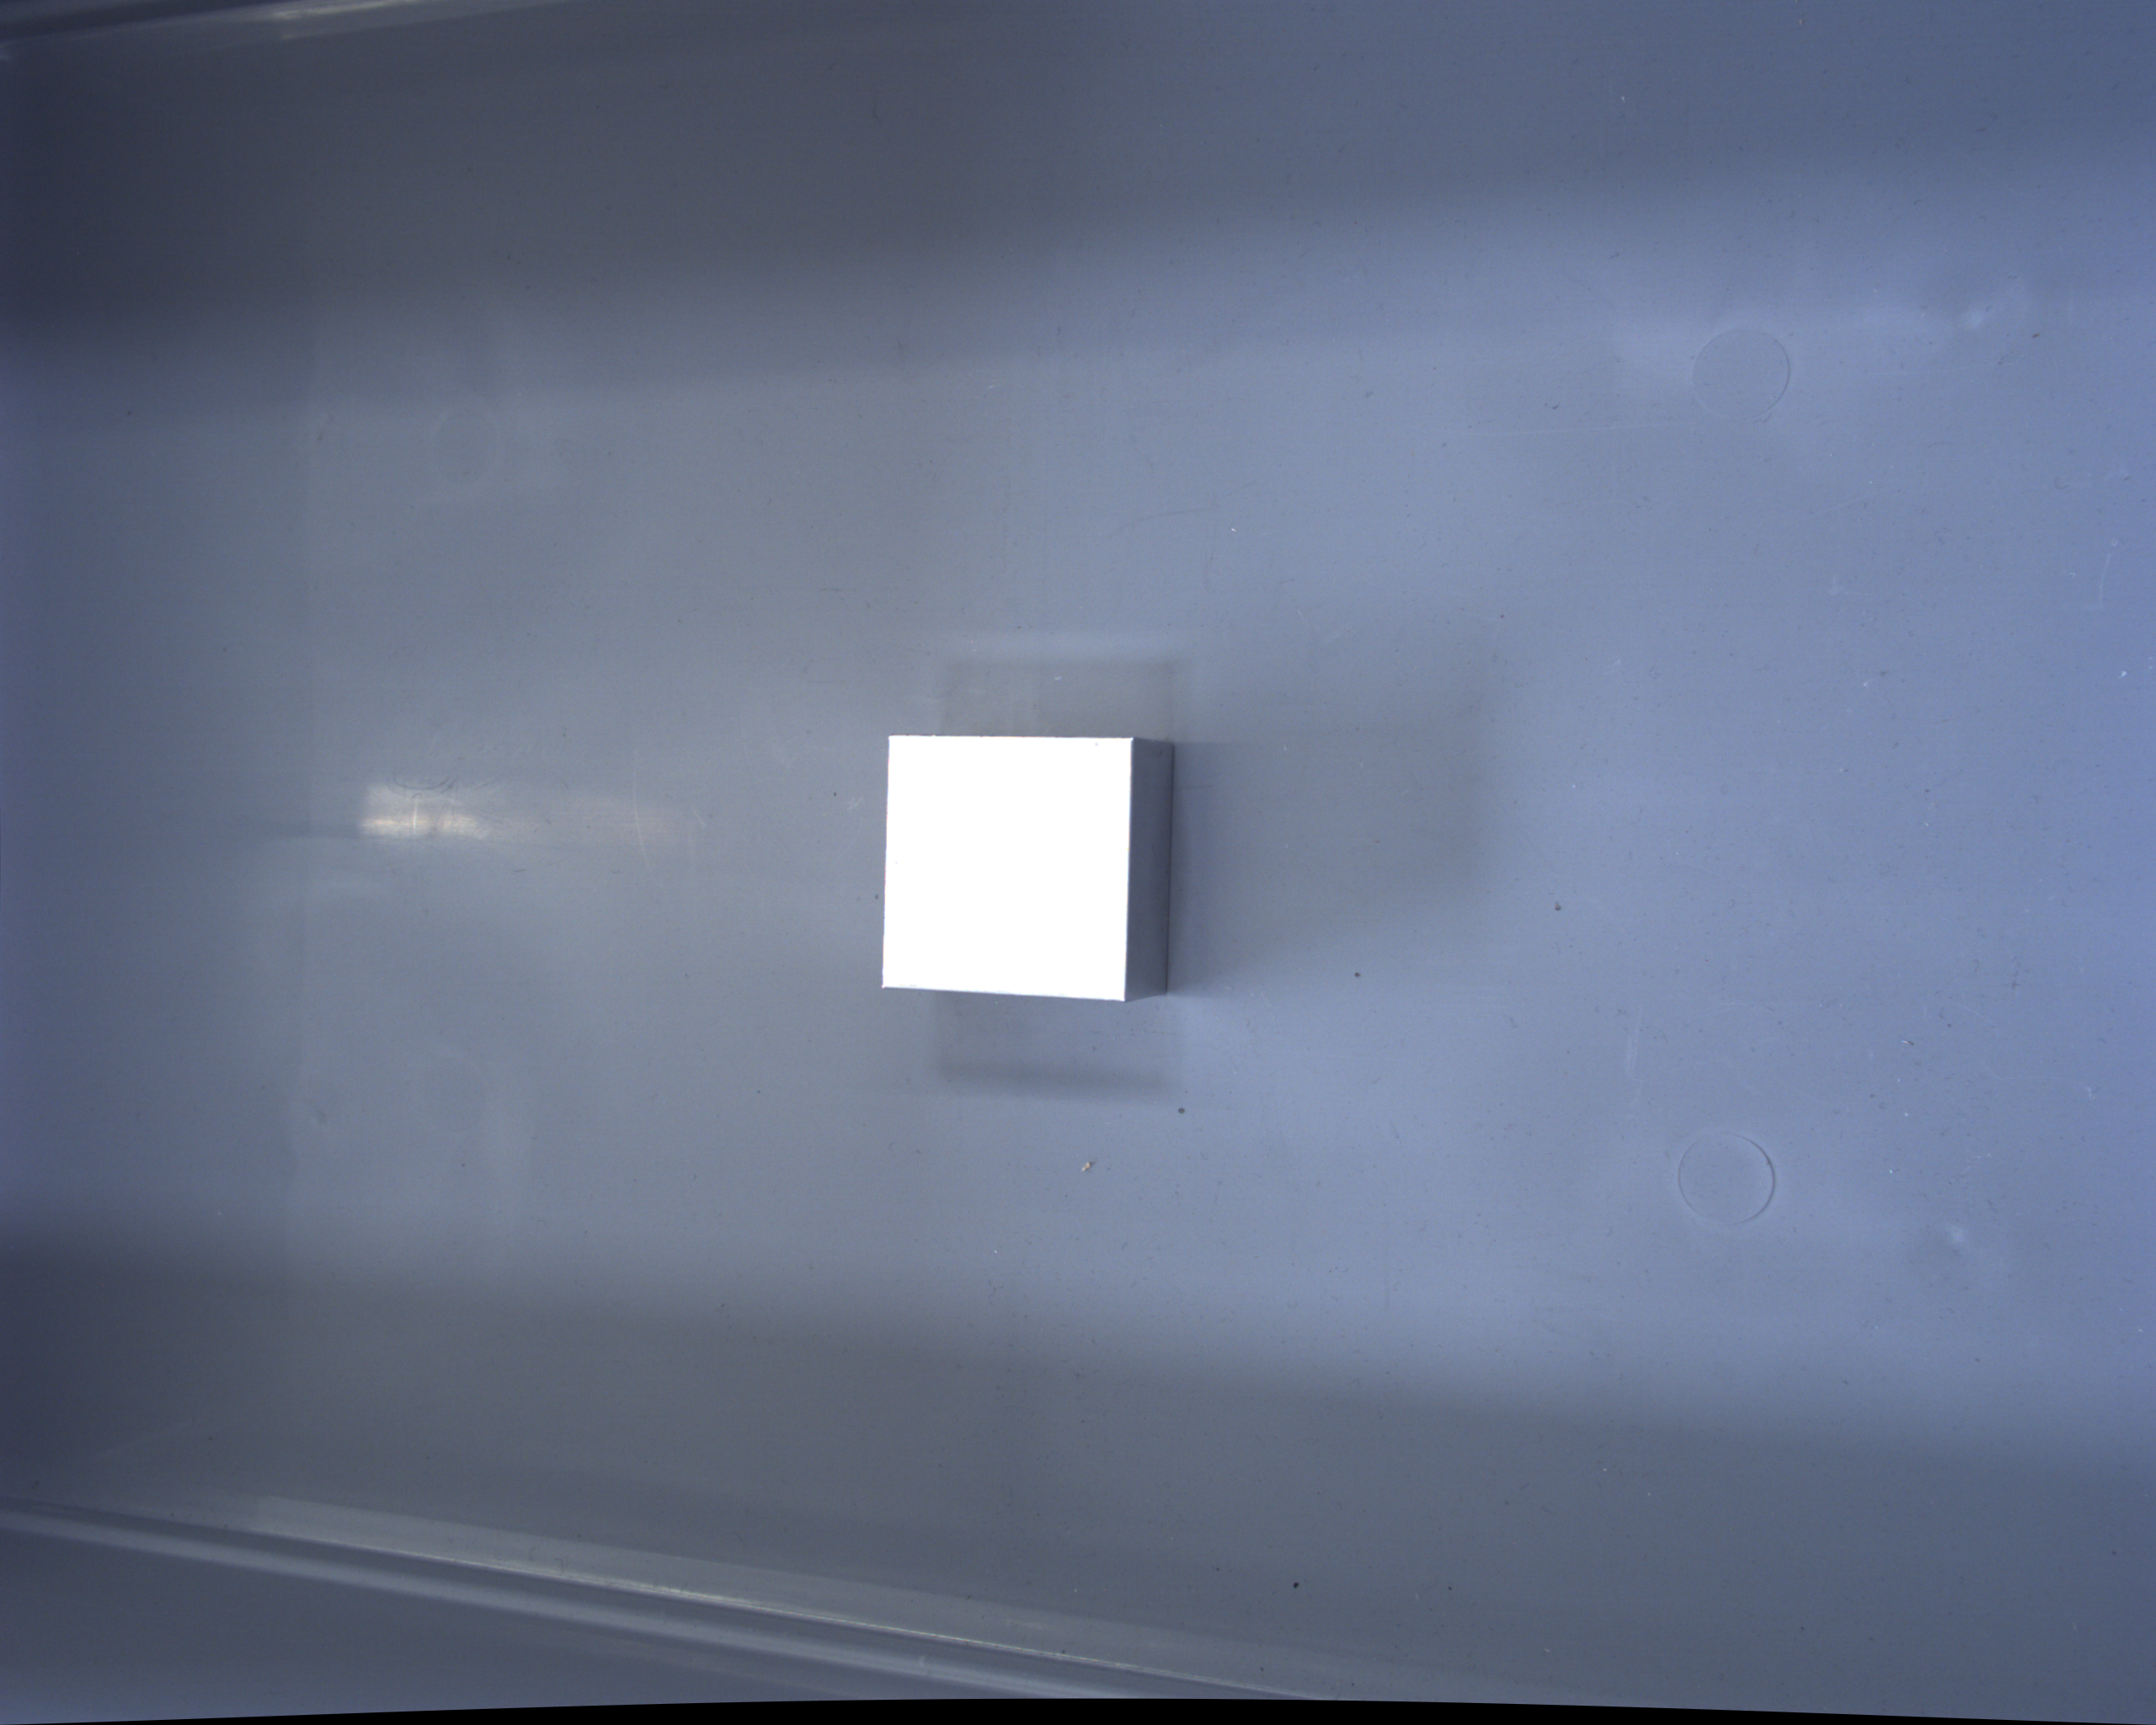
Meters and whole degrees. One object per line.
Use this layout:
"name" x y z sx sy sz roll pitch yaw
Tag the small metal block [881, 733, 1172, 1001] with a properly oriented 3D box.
"small metal block" -0.010 0.000 0.410 0.050 0.025 0.050 2 91 20
